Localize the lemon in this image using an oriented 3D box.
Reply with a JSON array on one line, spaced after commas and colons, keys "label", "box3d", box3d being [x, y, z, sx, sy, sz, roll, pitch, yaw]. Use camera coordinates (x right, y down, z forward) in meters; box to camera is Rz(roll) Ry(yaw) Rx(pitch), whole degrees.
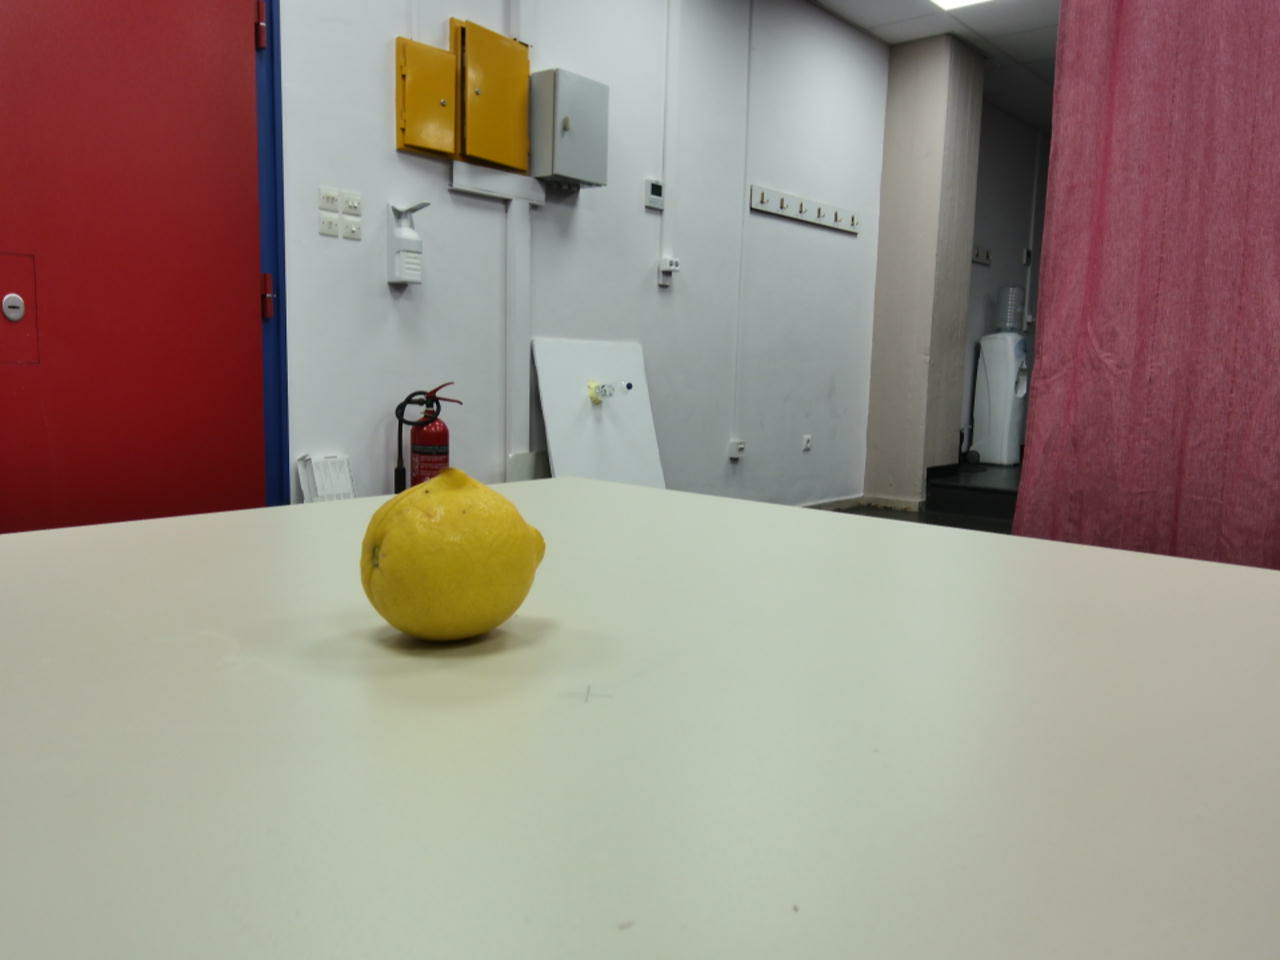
[{"label": "lemon", "box3d": [-0.080, 0.030, 0.418, 0.071, 0.071, 0.070, 1, 4, 6]}]
